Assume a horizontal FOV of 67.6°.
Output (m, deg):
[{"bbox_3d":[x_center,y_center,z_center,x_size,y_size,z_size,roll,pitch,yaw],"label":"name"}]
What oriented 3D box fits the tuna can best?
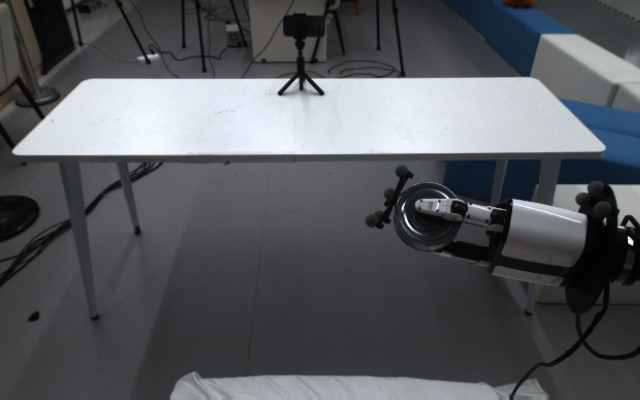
[{"bbox_3d":[0.140,0.019,0.622,0.085,0.034,0.085,-2,71,5],"label":"tuna can"}]
